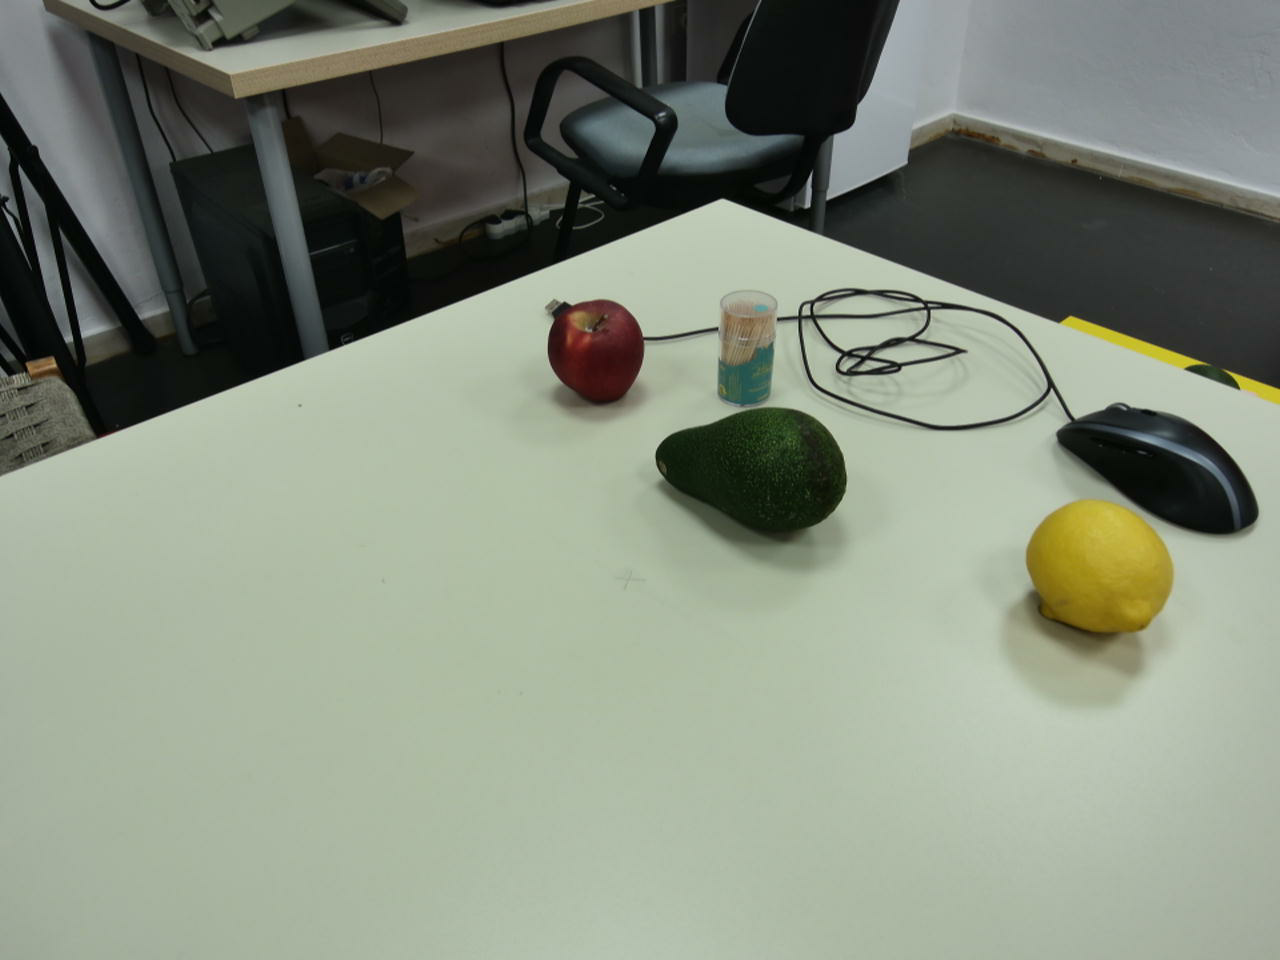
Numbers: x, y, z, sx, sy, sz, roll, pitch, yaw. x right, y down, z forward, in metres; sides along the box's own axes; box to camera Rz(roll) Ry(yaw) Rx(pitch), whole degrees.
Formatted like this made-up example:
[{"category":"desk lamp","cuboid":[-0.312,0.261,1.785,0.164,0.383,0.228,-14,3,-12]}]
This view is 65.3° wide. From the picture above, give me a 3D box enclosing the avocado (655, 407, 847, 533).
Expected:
[{"category":"avocado","cuboid":[0.071,-0.014,0.600,0.074,0.076,0.123,-23,42,-27]}]
